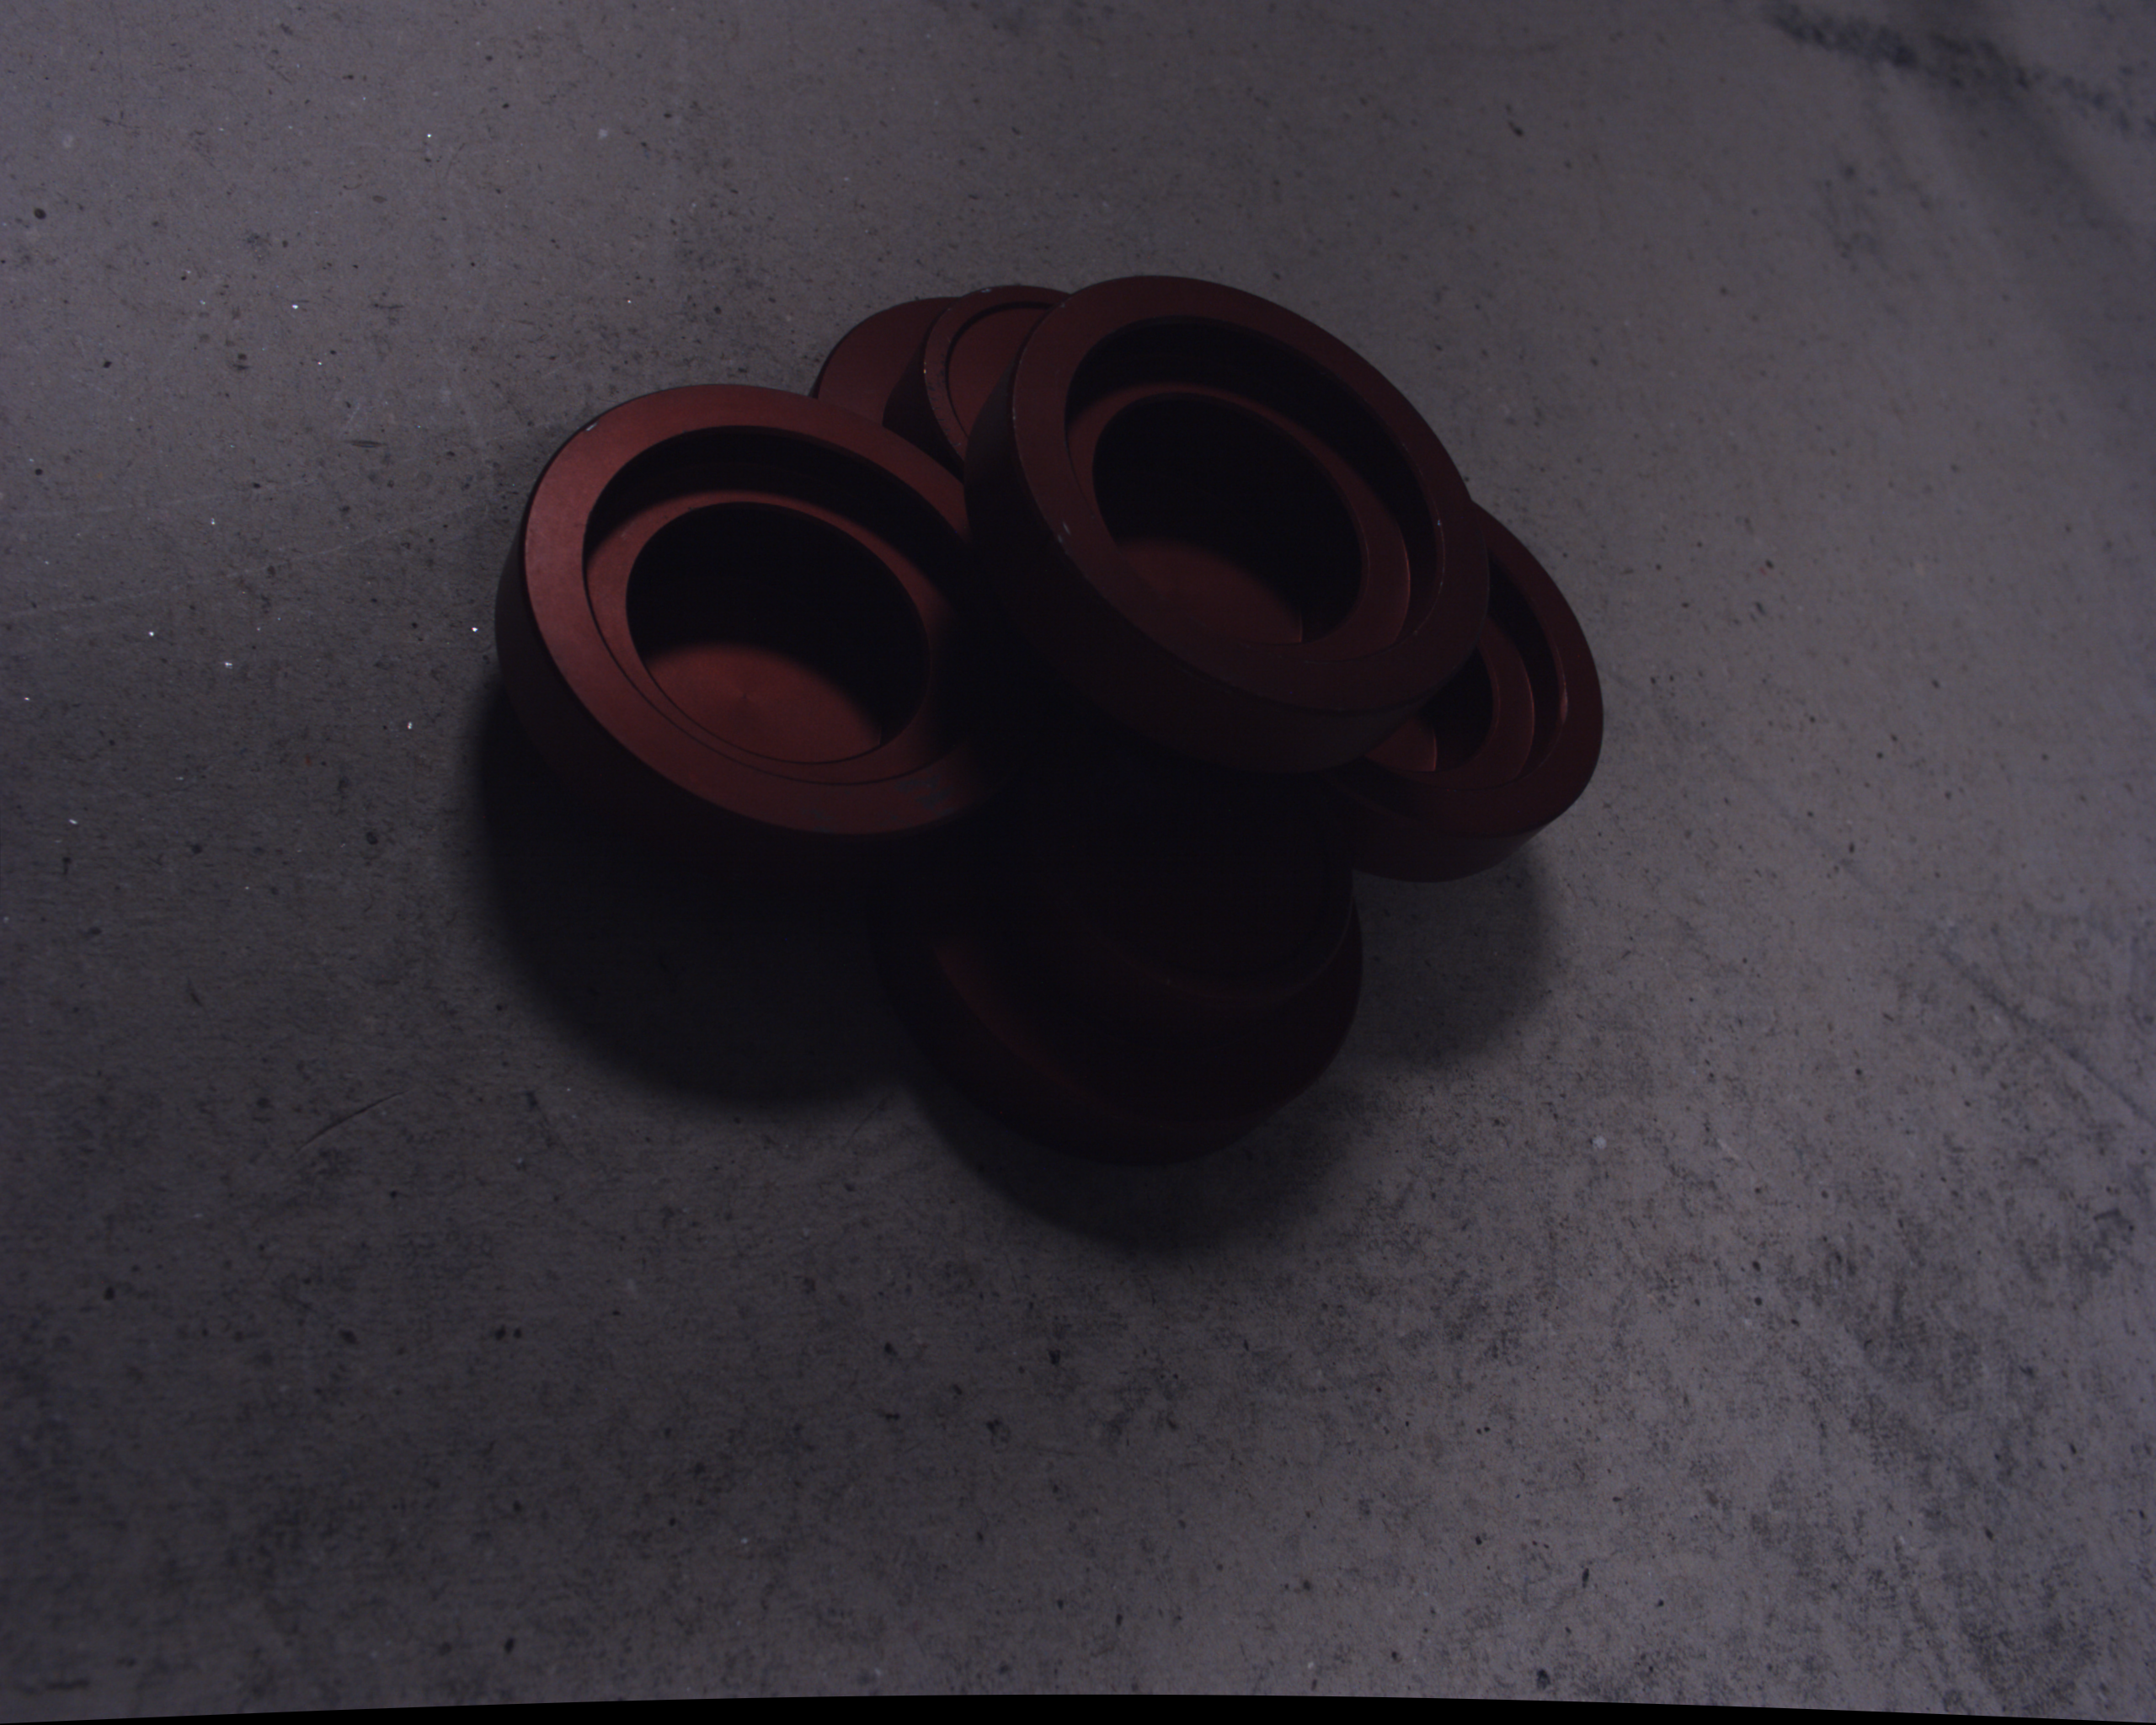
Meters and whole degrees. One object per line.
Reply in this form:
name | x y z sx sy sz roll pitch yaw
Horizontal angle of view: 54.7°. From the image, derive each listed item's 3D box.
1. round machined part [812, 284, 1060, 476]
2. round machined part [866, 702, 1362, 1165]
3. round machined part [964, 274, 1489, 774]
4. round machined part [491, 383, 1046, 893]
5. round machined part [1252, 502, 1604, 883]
round machined part | -0.009 -0.082 0.441 0.099 0.042 0.098 14 56 -21
round machined part | 0.013 0.005 0.400 0.099 0.042 0.098 14 56 -21
round machined part | 0.024 -0.058 0.390 0.099 0.042 0.098 14 56 -21
round machined part | -0.059 -0.037 0.386 0.099 0.042 0.098 14 56 -21
round machined part | 0.061 -0.038 0.453 0.099 0.042 0.098 14 56 -21
